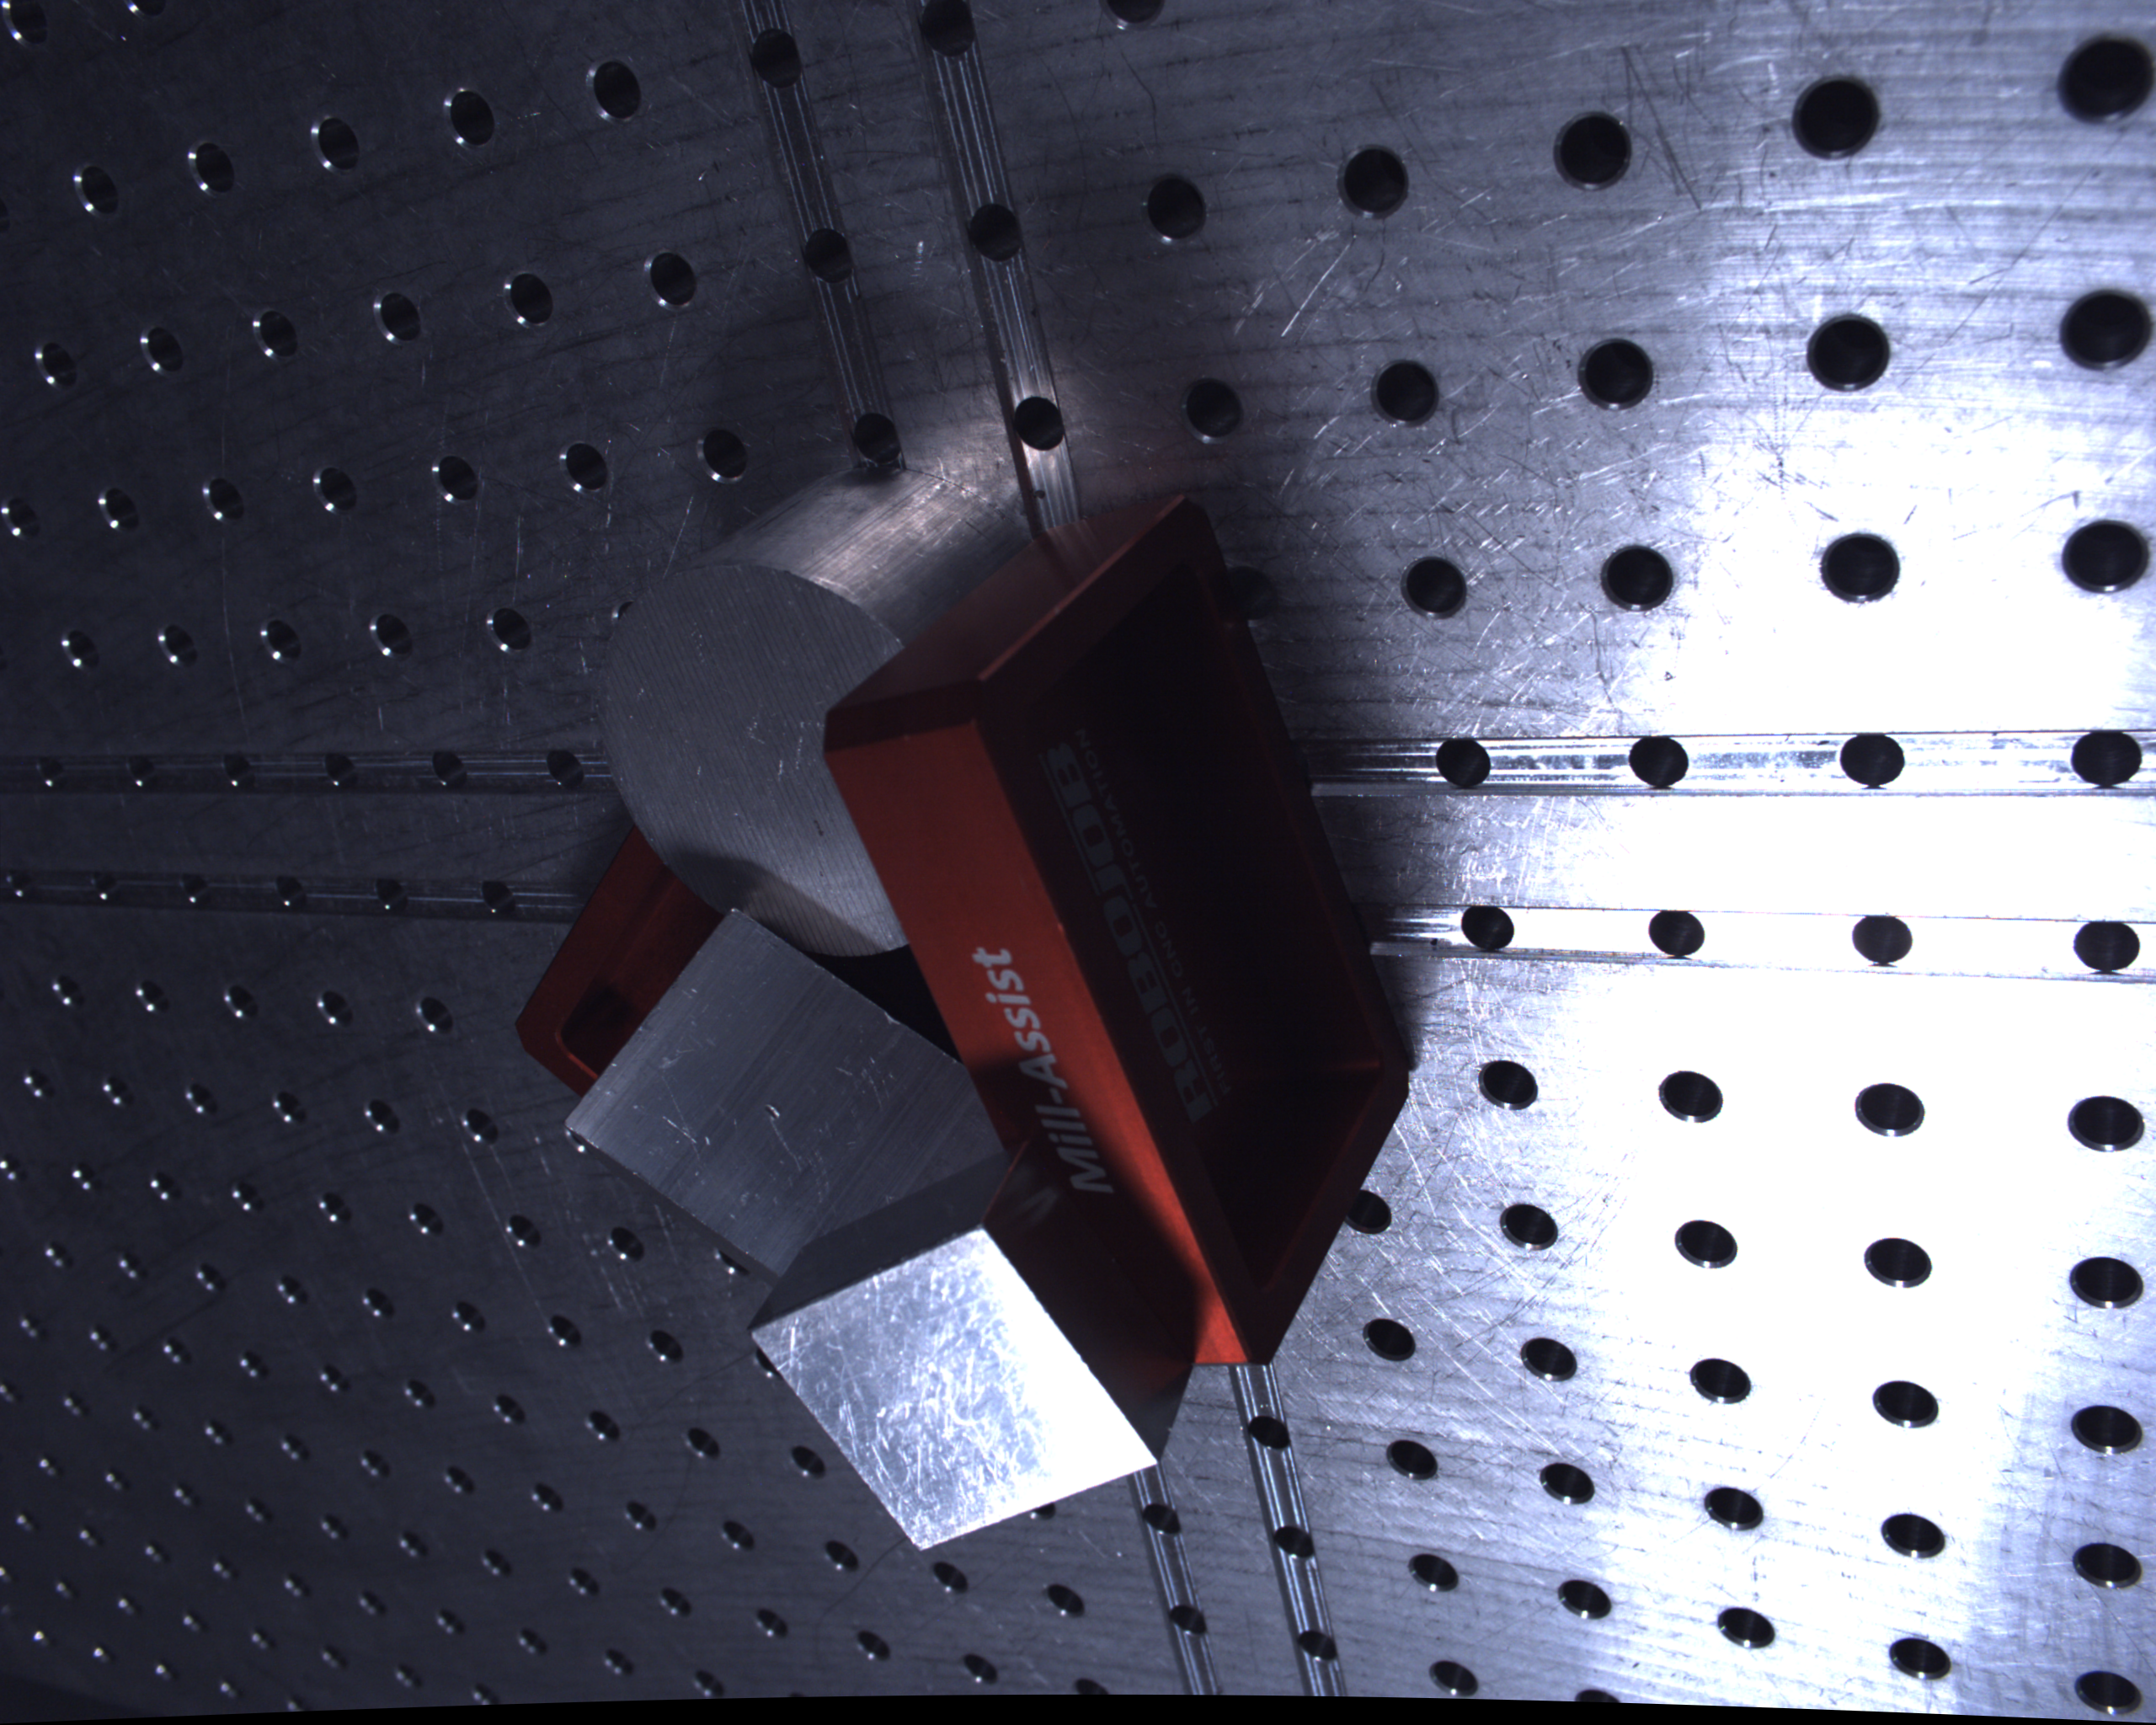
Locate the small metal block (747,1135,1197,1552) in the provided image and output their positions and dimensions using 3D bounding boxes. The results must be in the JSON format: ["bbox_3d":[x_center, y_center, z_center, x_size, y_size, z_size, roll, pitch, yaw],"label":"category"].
[{"bbox_3d":[-0.017,0.081,0.347,0.050,0.025,0.050,-29,104,26],"label":"small metal block"}]

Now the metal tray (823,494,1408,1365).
[{"bbox_3d":[0.013,0.012,0.368,0.030,0.090,0.129,-9,114,32],"label":"metal tray"}]

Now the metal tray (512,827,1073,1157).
[{"bbox_3d":[-0.054,0.048,0.463,0.130,0.030,0.089,40,129,0],"label":"metal tray"}]

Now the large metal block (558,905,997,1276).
[{"bbox_3d":[-0.049,0.060,0.416,0.080,0.050,0.080,34,164,5],"label":"large metal block"}]

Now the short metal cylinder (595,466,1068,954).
[{"bbox_3d":[-0.044,-0.029,0.398,0.080,0.050,0.079,13,124,20],"label":"short metal cylinder"}]
